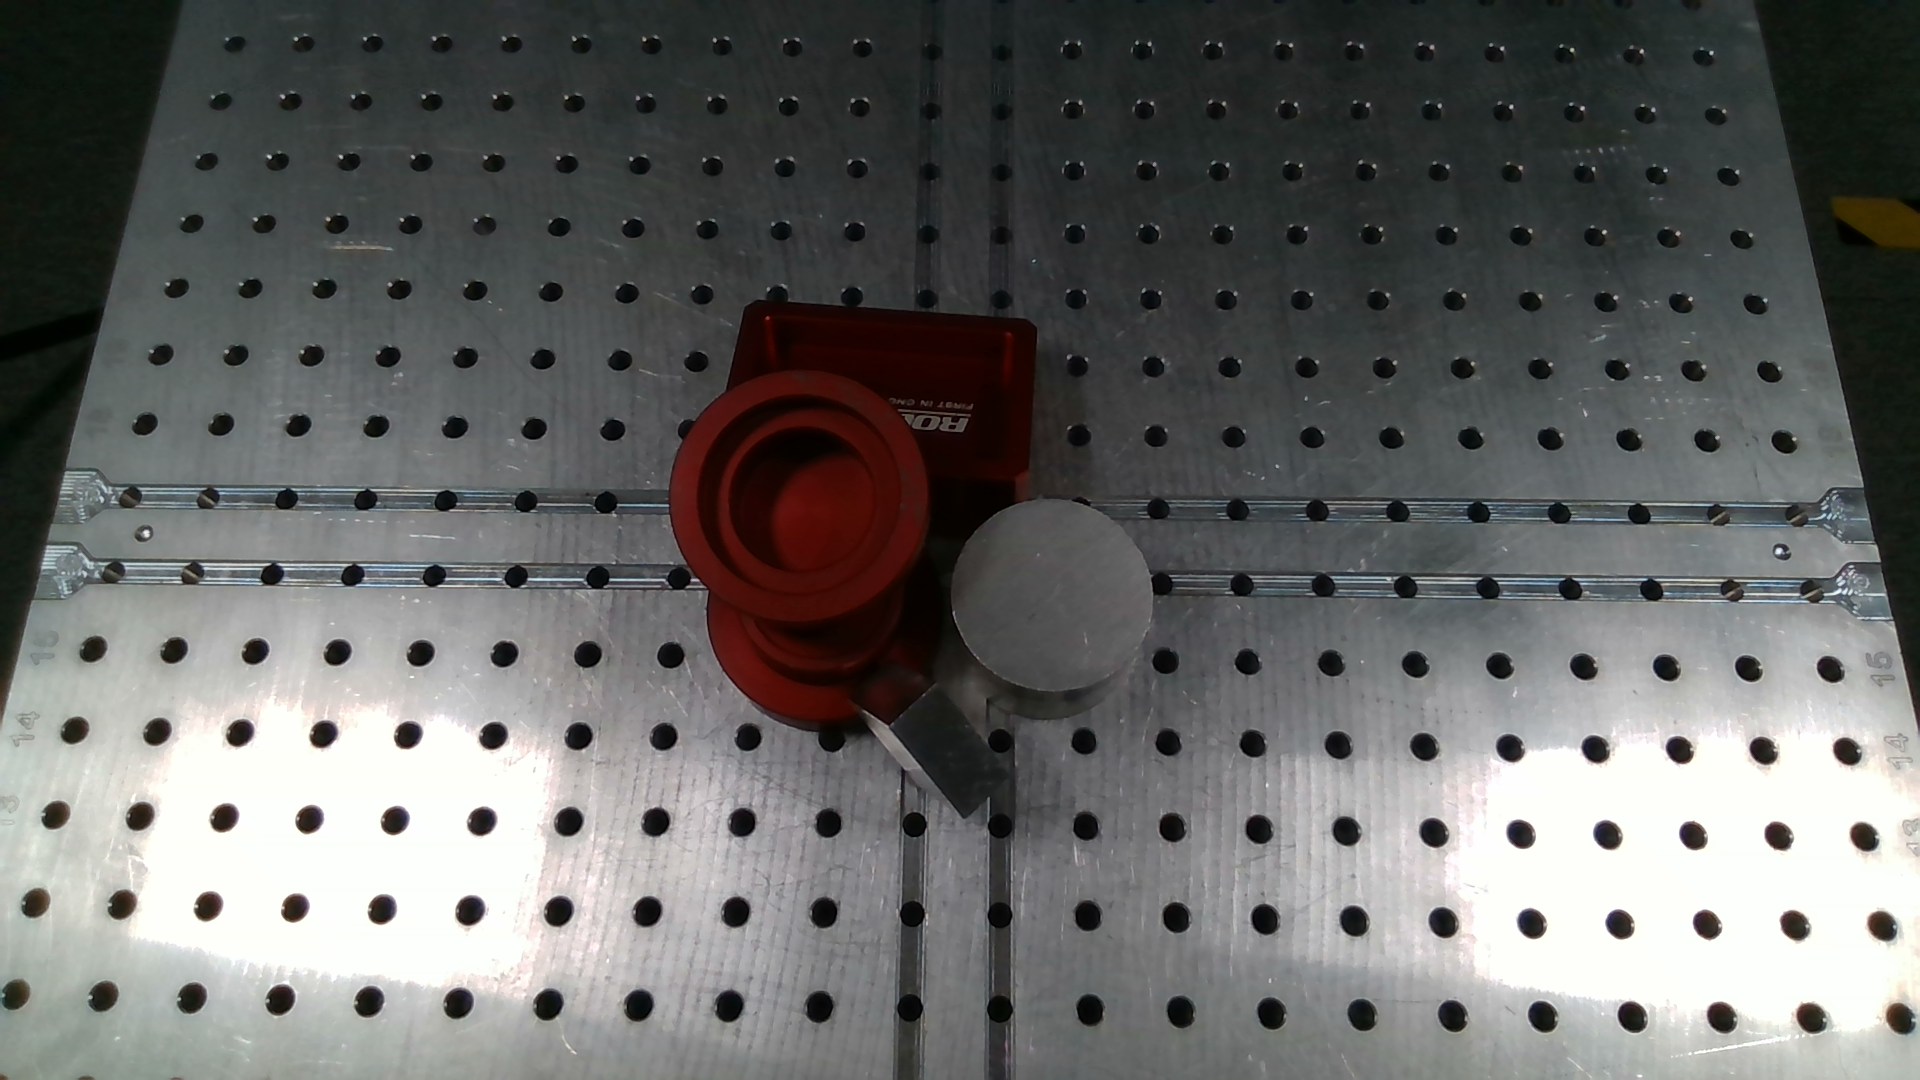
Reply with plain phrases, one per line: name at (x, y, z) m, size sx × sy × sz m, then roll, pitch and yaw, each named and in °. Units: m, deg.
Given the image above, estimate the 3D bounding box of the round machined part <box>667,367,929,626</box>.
round machined part at (-0.060, -0.014, 0.536) m, size 0.098 × 0.042 × 0.098 m, roll 0°, pitch 81°, yaw 2°

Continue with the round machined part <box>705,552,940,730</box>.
round machined part at (-0.057, 0.027, 0.571) m, size 0.098 × 0.042 × 0.098 m, roll 0°, pitch 70°, yaw 0°

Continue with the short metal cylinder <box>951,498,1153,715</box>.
short metal cylinder at (0.036, 0.029, 0.567) m, size 0.080 × 0.050 × 0.080 m, roll 0°, pitch 70°, yaw 0°

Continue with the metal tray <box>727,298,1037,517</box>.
metal tray at (-0.034, -0.058, 0.597) m, size 0.130 × 0.030 × 0.090 m, roll 4°, pitch 56°, yaw 1°

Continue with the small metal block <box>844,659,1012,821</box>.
small metal block at (-0.013, 0.077, 0.540) m, size 0.025 × 0.050 × 0.050 m, roll -42°, pitch 110°, yaw -14°
